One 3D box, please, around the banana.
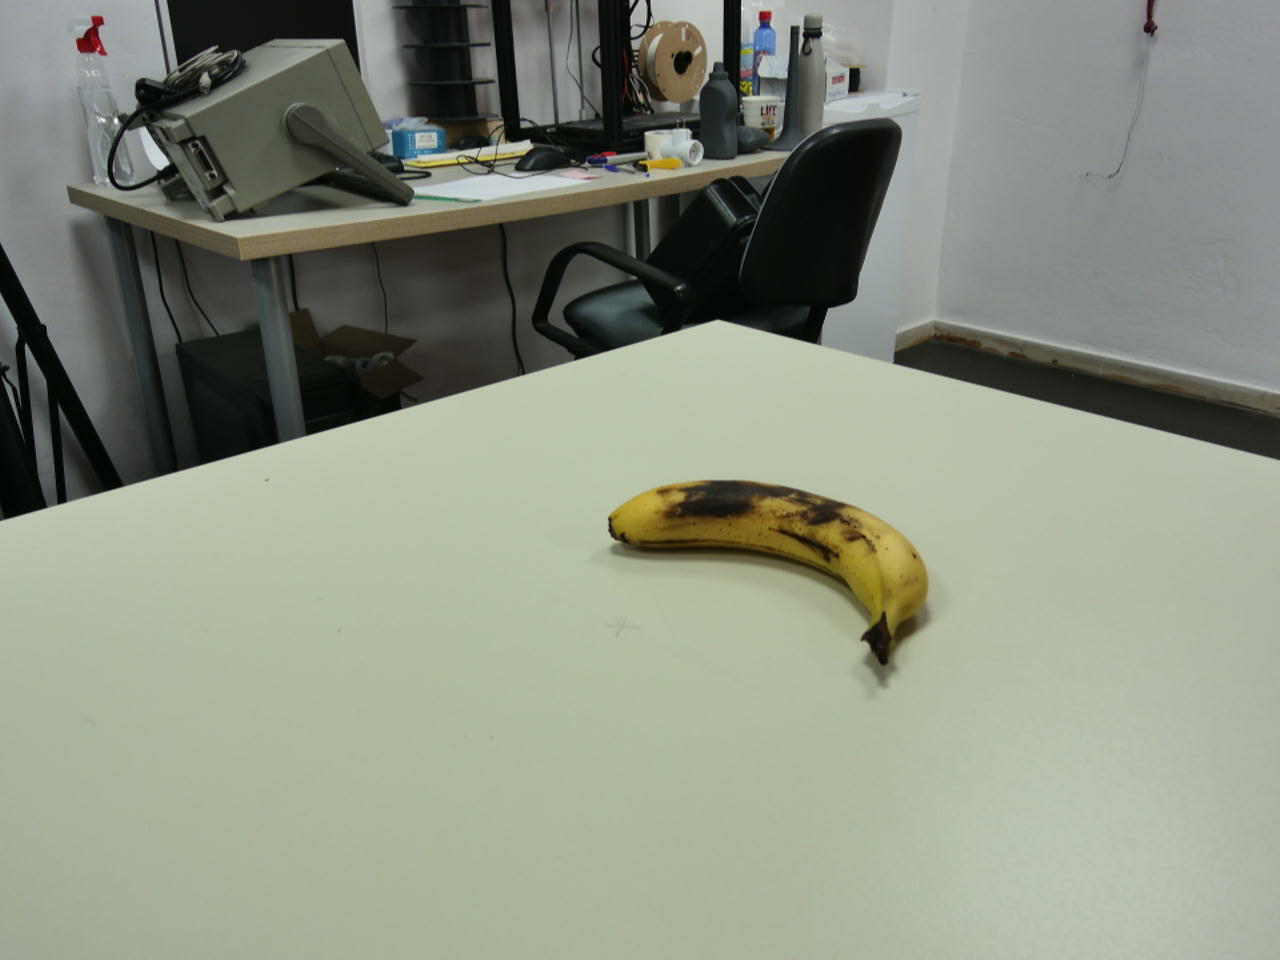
[{"bbox_3d":[0.076,0.035,0.534,0.094,0.039,0.187,-21,30,-39],"label":"banana"}]
